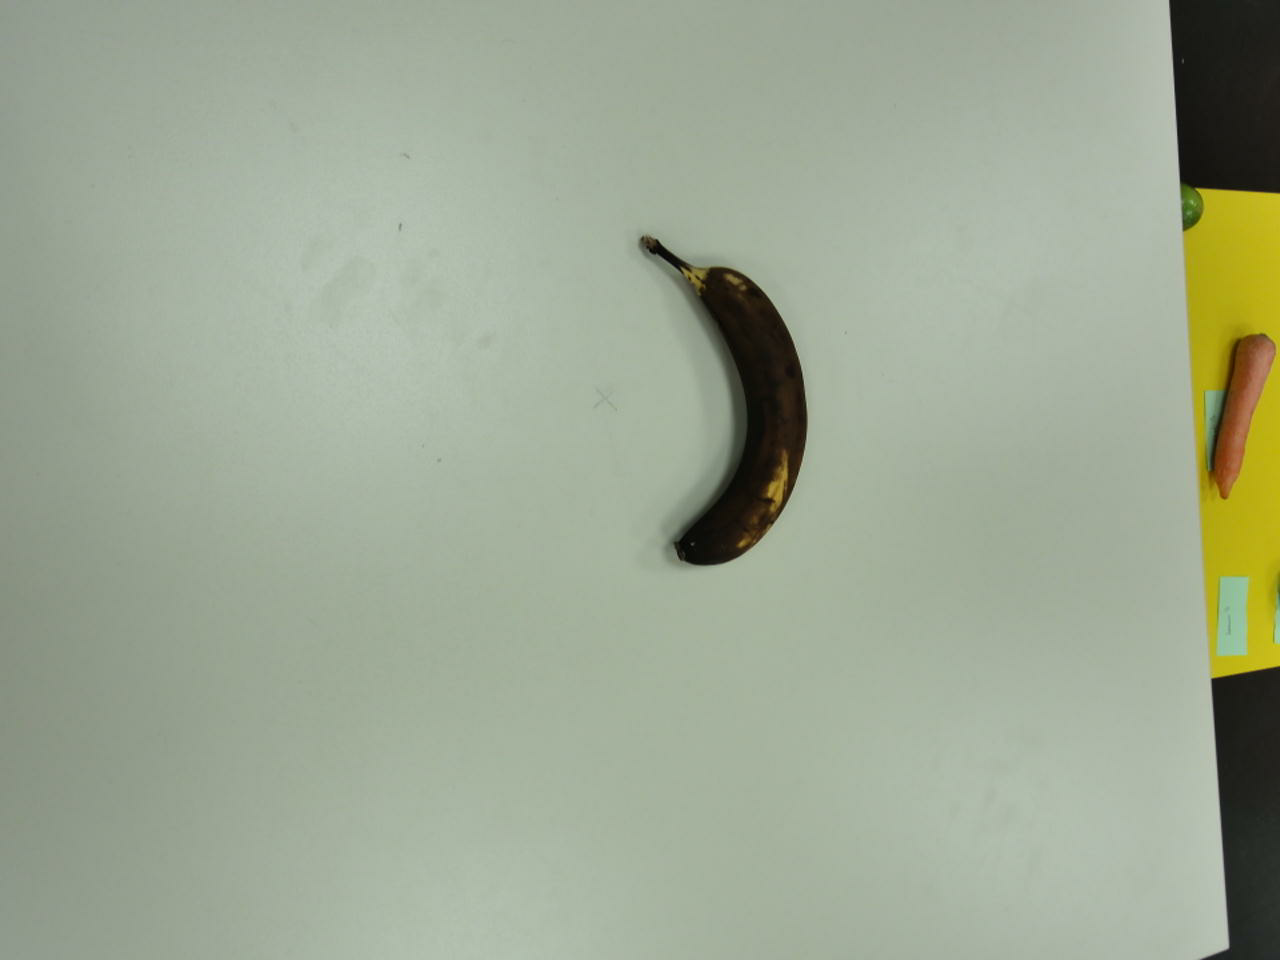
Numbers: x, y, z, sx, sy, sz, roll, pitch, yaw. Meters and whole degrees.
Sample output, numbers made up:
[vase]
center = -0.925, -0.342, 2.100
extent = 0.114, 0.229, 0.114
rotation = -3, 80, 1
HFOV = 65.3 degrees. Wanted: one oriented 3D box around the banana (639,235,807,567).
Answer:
[banana]
center = 0.054, -0.047, 0.570
extent = 0.091, 0.034, 0.188
rotation = -6, 93, -22
